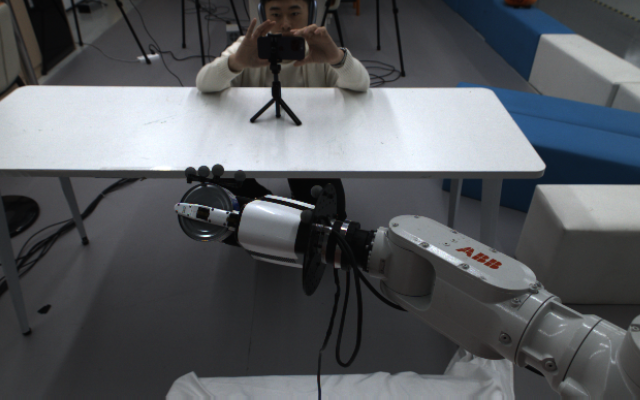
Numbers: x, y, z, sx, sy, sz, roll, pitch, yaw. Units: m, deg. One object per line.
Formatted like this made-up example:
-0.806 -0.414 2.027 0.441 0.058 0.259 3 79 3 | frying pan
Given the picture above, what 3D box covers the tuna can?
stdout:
-0.162 0.019 0.710 0.085 0.085 0.034 12 -6 14 | tuna can
